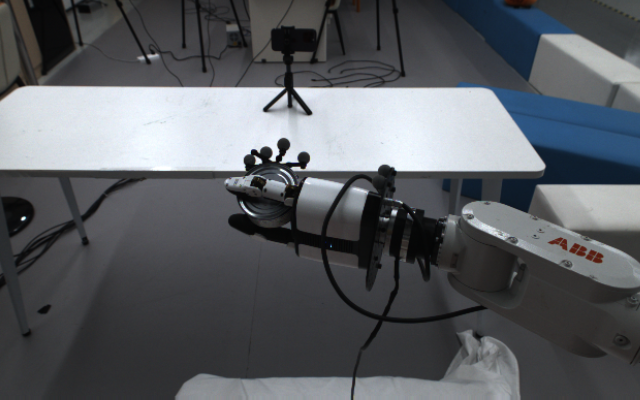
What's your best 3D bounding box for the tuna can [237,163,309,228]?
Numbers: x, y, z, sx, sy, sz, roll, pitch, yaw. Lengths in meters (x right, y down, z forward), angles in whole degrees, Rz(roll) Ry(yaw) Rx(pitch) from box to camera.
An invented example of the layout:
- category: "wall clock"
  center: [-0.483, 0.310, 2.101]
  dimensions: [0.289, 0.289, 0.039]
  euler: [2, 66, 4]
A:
- category: "tuna can"
  center: [-0.066, -0.006, 0.654]
  dimensions: [0.085, 0.034, 0.085]
  euler: [-6, 61, 10]
